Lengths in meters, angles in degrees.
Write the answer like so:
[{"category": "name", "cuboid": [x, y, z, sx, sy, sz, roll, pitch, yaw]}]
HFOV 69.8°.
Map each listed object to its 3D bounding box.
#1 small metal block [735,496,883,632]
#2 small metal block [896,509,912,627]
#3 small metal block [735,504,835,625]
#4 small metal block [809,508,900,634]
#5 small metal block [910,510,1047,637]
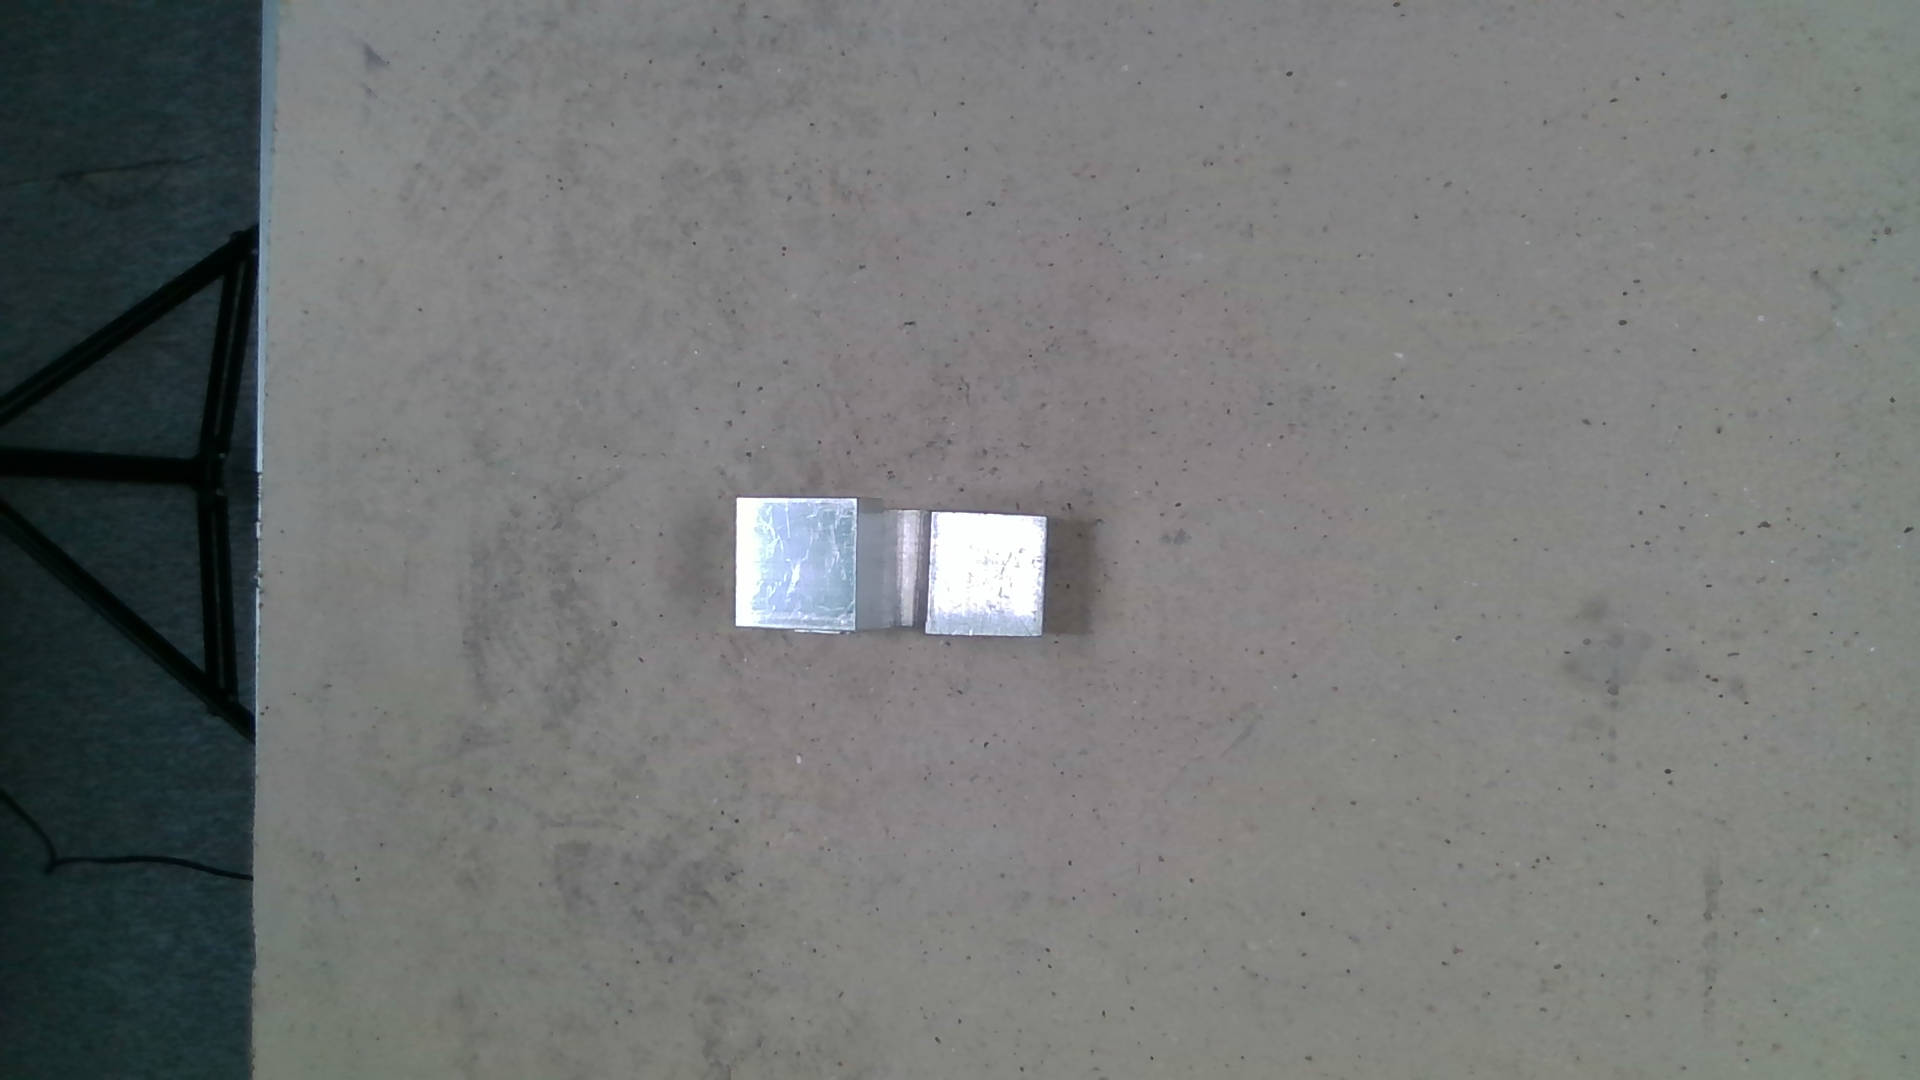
[{"category": "small metal block", "cuboid": [-0.058, 0.009, 0.527, 0.050, 0.025, 0.050, 1, 91, 20]}, {"category": "small metal block", "cuboid": [-0.032, 0.011, 0.598, 0.050, 0.025, 0.050, 3, 91, 20]}, {"category": "small metal block", "cuboid": [-0.077, 0.010, 0.601, 0.050, 0.025, 0.050, 4, 92, 61]}, {"category": "small metal block", "cuboid": [-0.046, 0.011, 0.562, 0.025, 0.050, 0.050, 3, 91, 20]}, {"category": "small metal block", "cuboid": [0.007, 0.014, 0.570, 0.050, 0.025, 0.050, 2, 91, -16]}]
